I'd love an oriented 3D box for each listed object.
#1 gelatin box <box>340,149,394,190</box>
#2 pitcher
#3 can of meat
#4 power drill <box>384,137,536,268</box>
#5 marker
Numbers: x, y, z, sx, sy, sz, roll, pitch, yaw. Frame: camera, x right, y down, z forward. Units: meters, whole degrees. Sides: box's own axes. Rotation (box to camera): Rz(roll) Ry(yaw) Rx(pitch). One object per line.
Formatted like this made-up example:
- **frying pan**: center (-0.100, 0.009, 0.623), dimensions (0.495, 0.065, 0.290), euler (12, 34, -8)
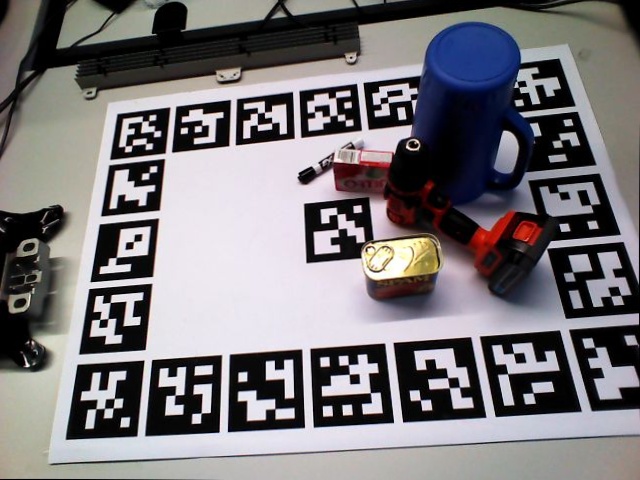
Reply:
- **gelatin box**: center (0.077, -0.102, 0.765), dimensions (0.090, 0.073, 0.030), euler (5, 70, 9)
- **pitcher**: center (0.210, -0.152, 0.681), dimensions (0.189, 0.243, 0.133), euler (24, 74, 25)
- **can of meat**: center (0.110, 0.039, 0.685), dimensions (0.102, 0.084, 0.057), euler (-6, 63, 5)
- **power drill**: center (0.169, -0.045, 0.663), dimensions (0.187, 0.185, 0.057), euler (30, 75, 13)
- **marker**: center (0.024, -0.137, 0.815), dimensions (0.121, 0.020, 0.019), euler (-30, 65, -5)
